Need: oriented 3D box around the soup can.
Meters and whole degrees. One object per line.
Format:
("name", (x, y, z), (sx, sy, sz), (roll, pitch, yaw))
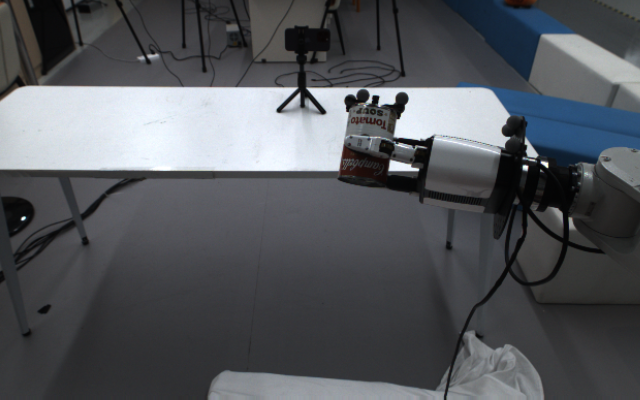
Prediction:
("soup can", (0.066, -0.074, 0.659), (0.067, 0.101, 0.067), (9, -5, 1))
